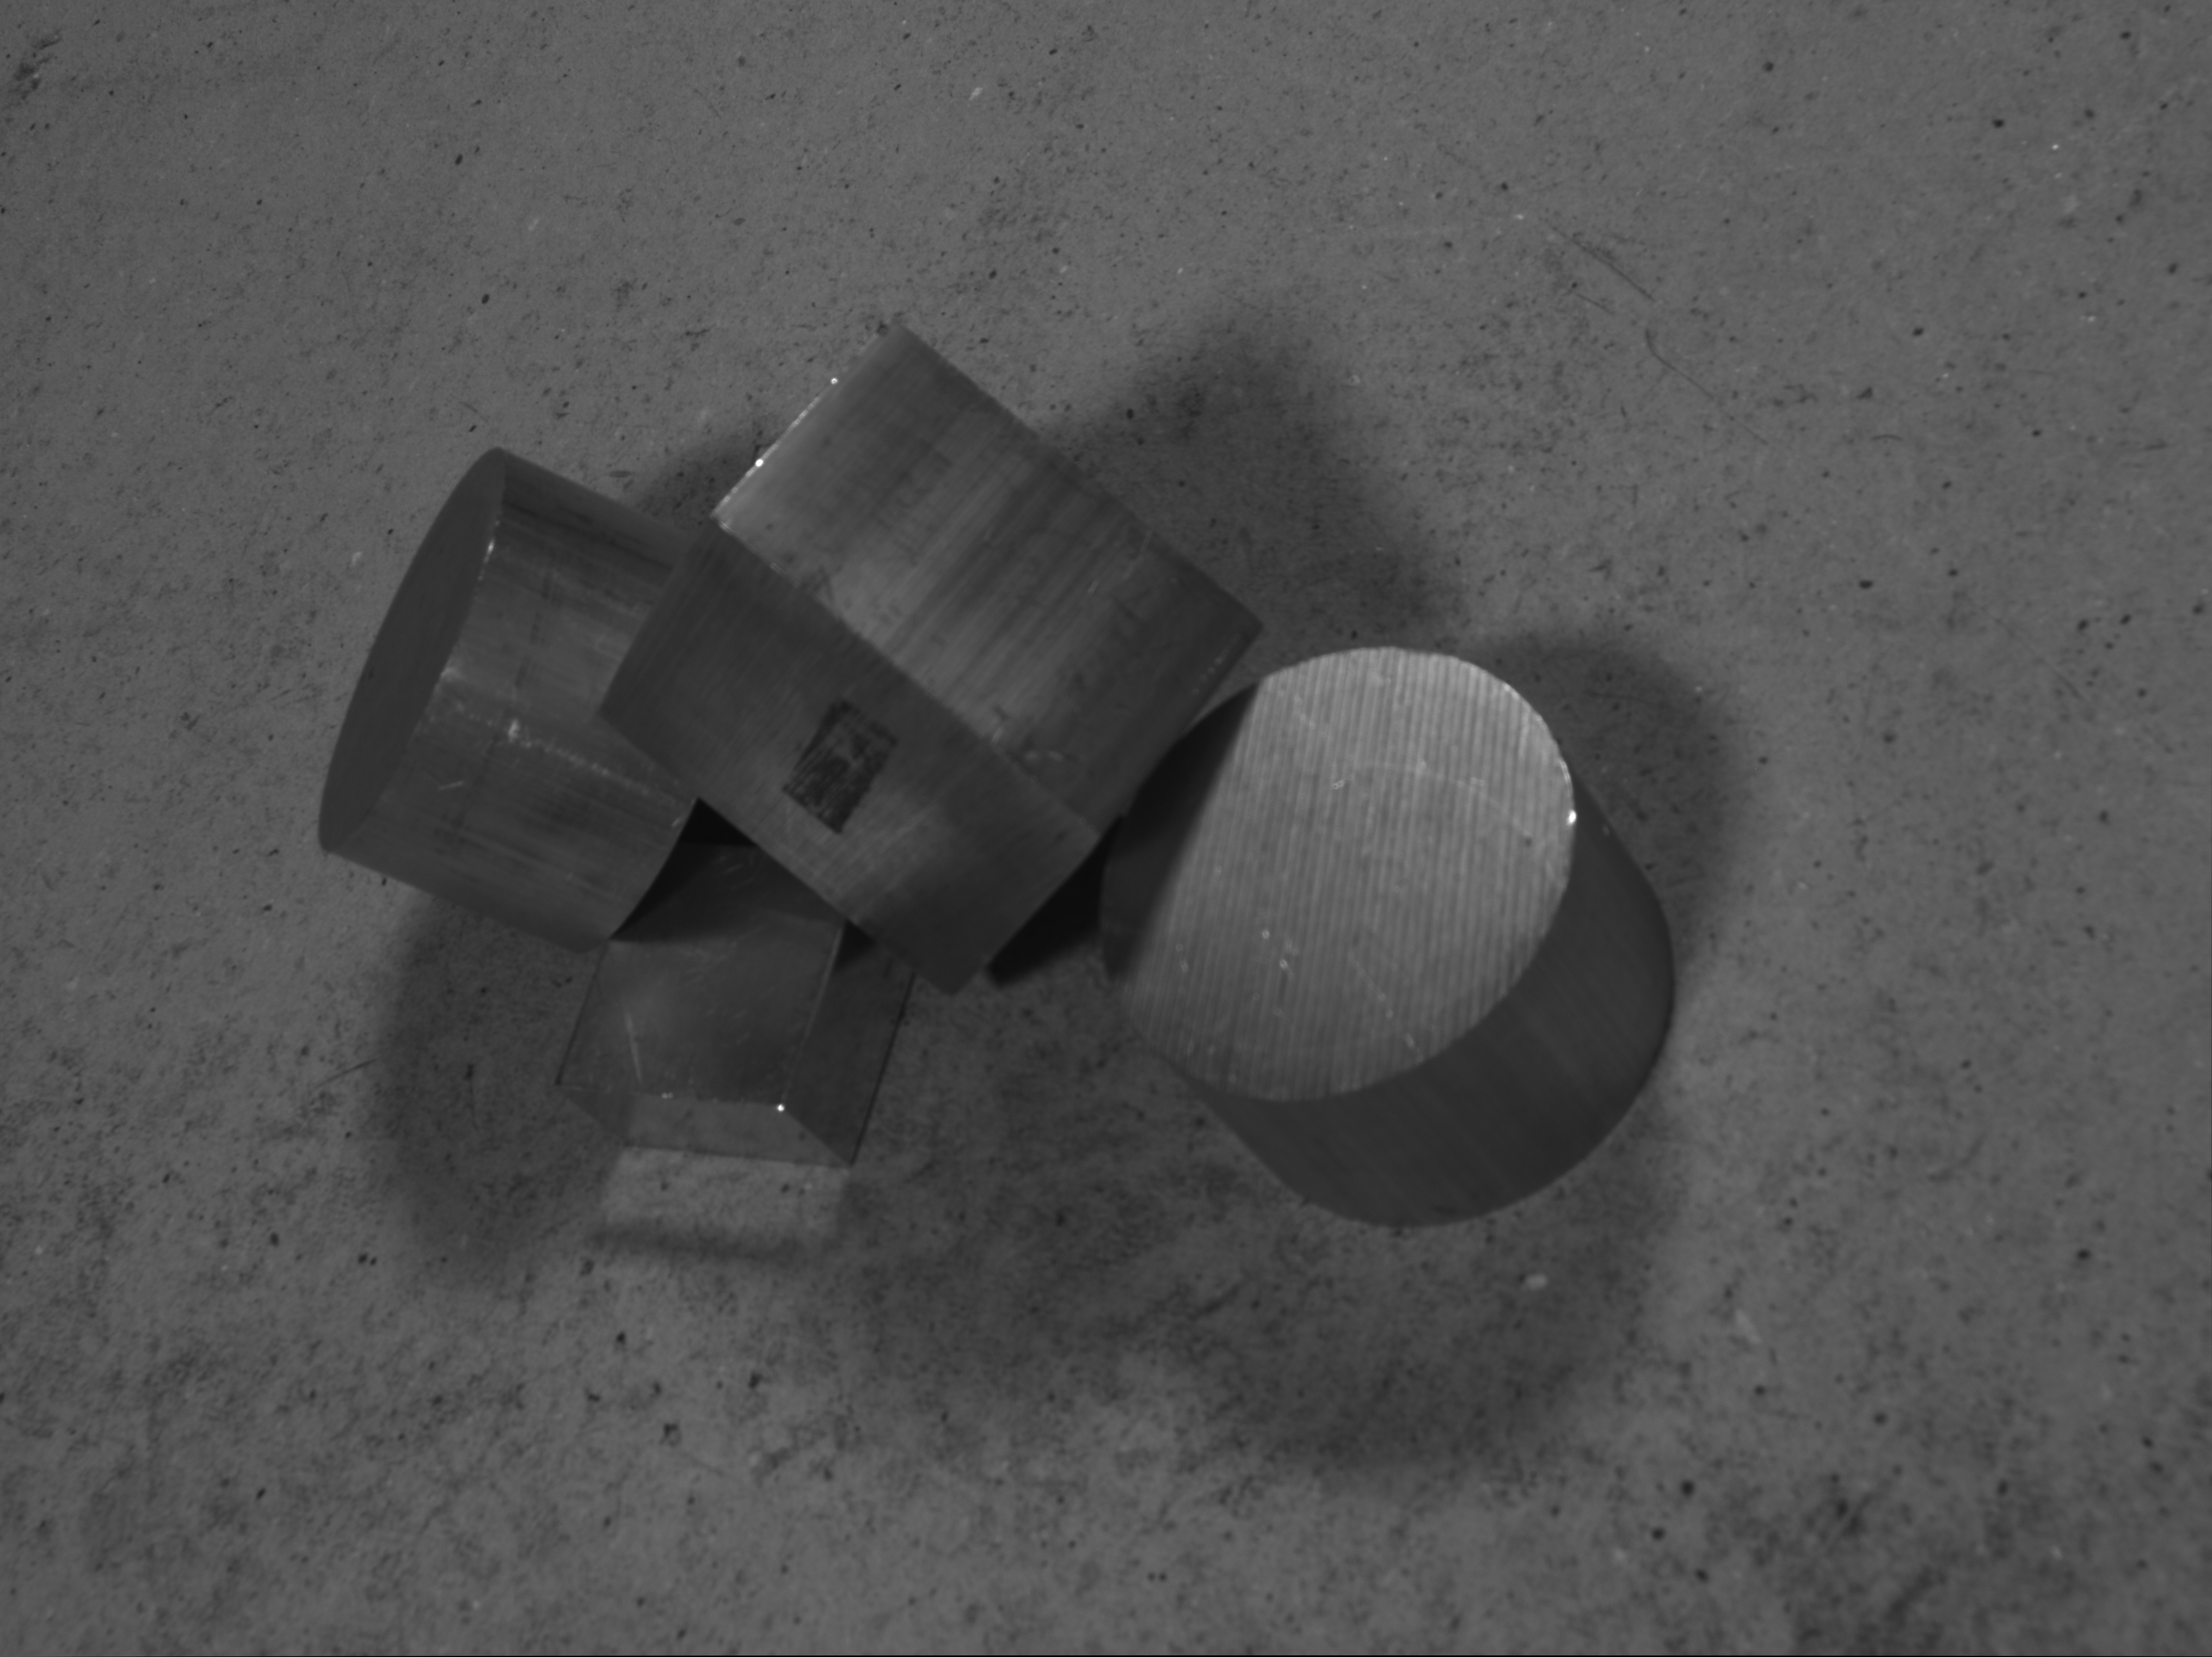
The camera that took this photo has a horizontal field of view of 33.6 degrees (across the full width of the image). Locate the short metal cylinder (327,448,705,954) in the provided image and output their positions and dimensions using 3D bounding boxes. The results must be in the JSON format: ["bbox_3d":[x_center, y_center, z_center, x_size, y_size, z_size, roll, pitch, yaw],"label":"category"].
[{"bbox_3d":[-0.104,-0.023,0.675,0.080,0.050,0.080,-50,26,36],"label":"short metal cylinder"}]

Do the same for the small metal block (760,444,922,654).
[{"bbox_3d":[-0.044,-0.047,0.697,0.050,0.025,0.050,-1,61,28],"label":"small metal block"}]

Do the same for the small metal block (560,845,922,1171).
[{"bbox_3d":[-0.063,0.032,0.659,0.050,0.025,0.050,3,63,30],"label":"small metal block"}]

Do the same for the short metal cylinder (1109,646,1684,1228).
[{"bbox_3d":[0.047,0.018,0.592,0.080,0.050,0.080,-13,56,21],"label":"short metal cylinder"}]

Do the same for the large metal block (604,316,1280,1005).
[{"bbox_3d":[-0.030,-0.026,0.617,0.080,0.080,0.050,39,60,-2],"label":"large metal block"}]
